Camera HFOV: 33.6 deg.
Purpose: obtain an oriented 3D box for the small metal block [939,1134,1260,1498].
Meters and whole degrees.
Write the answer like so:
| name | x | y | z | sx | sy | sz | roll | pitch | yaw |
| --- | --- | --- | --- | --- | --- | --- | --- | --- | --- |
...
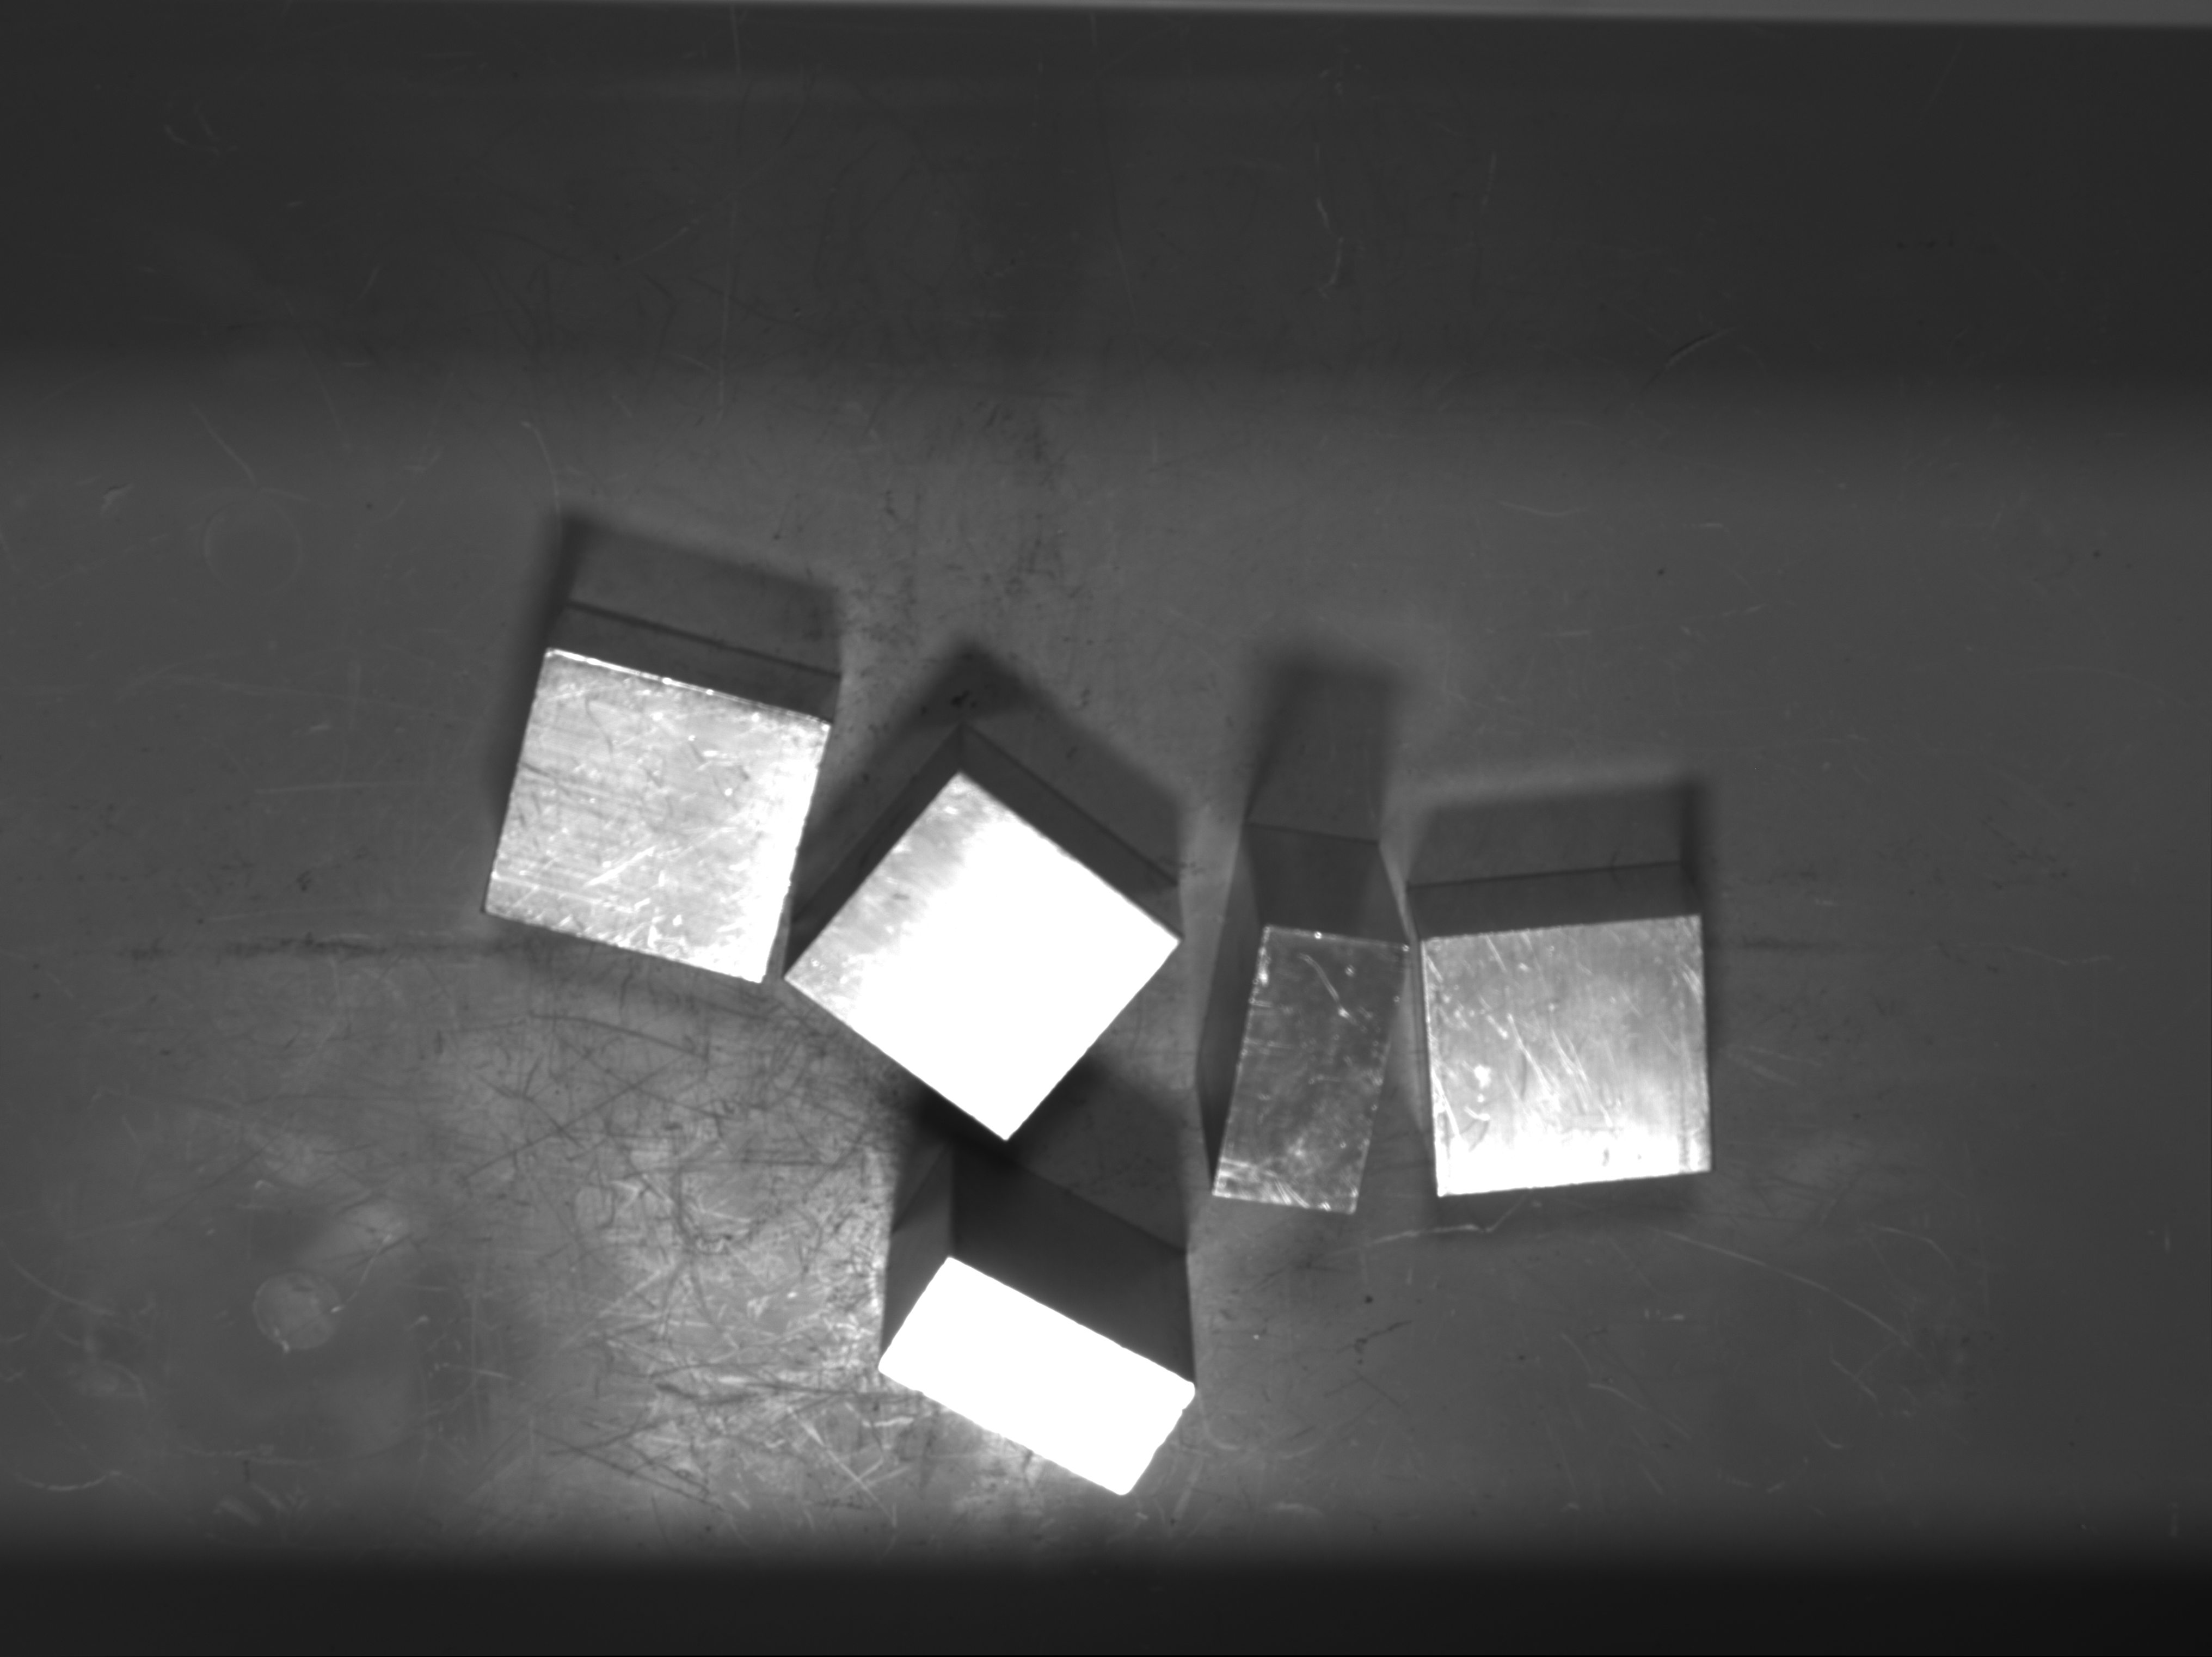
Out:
| name | x | y | z | sx | sy | sz | roll | pitch | yaw |
| --- | --- | --- | --- | --- | --- | --- | --- | --- | --- |
| small metal block | -0.001 | 0.087 | 0.659 | 0.050 | 0.050 | 0.025 | 29 | 108 | -11 |

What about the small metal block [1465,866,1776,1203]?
| name | x | y | z | sx | sy | sz | roll | pitch | yaw |
| --- | --- | --- | --- | --- | --- | --- | --- | --- | --- |
| small metal block | 0.092 | 0.037 | 0.656 | 0.050 | 0.025 | 0.050 | -5 | 110 | 1 |

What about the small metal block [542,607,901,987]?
| name | x | y | z | sx | sy | sz | roll | pitch | yaw |
| --- | --- | --- | --- | --- | --- | --- | --- | --- | --- |
| small metal block | -0.067 | -0.006 | 0.638 | 0.050 | 0.025 | 0.050 | 14 | 109 | -6 |

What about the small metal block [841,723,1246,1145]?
| name | x | y | z | sx | sy | sz | roll | pitch | yaw |
| --- | --- | --- | --- | --- | --- | --- | --- | --- | --- |
| small metal block | -0.011 | 0.019 | 0.647 | 0.050 | 0.025 | 0.050 | 37 | 105 | -13 |

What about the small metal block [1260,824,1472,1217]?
| name | x | y | z | sx | sy | sz | roll | pitch | yaw |
| --- | --- | --- | --- | --- | --- | --- | --- | --- | --- |
| small metal block | 0.044 | 0.033 | 0.641 | 0.025 | 0.050 | 0.050 | 9 | 110 | -4 |
